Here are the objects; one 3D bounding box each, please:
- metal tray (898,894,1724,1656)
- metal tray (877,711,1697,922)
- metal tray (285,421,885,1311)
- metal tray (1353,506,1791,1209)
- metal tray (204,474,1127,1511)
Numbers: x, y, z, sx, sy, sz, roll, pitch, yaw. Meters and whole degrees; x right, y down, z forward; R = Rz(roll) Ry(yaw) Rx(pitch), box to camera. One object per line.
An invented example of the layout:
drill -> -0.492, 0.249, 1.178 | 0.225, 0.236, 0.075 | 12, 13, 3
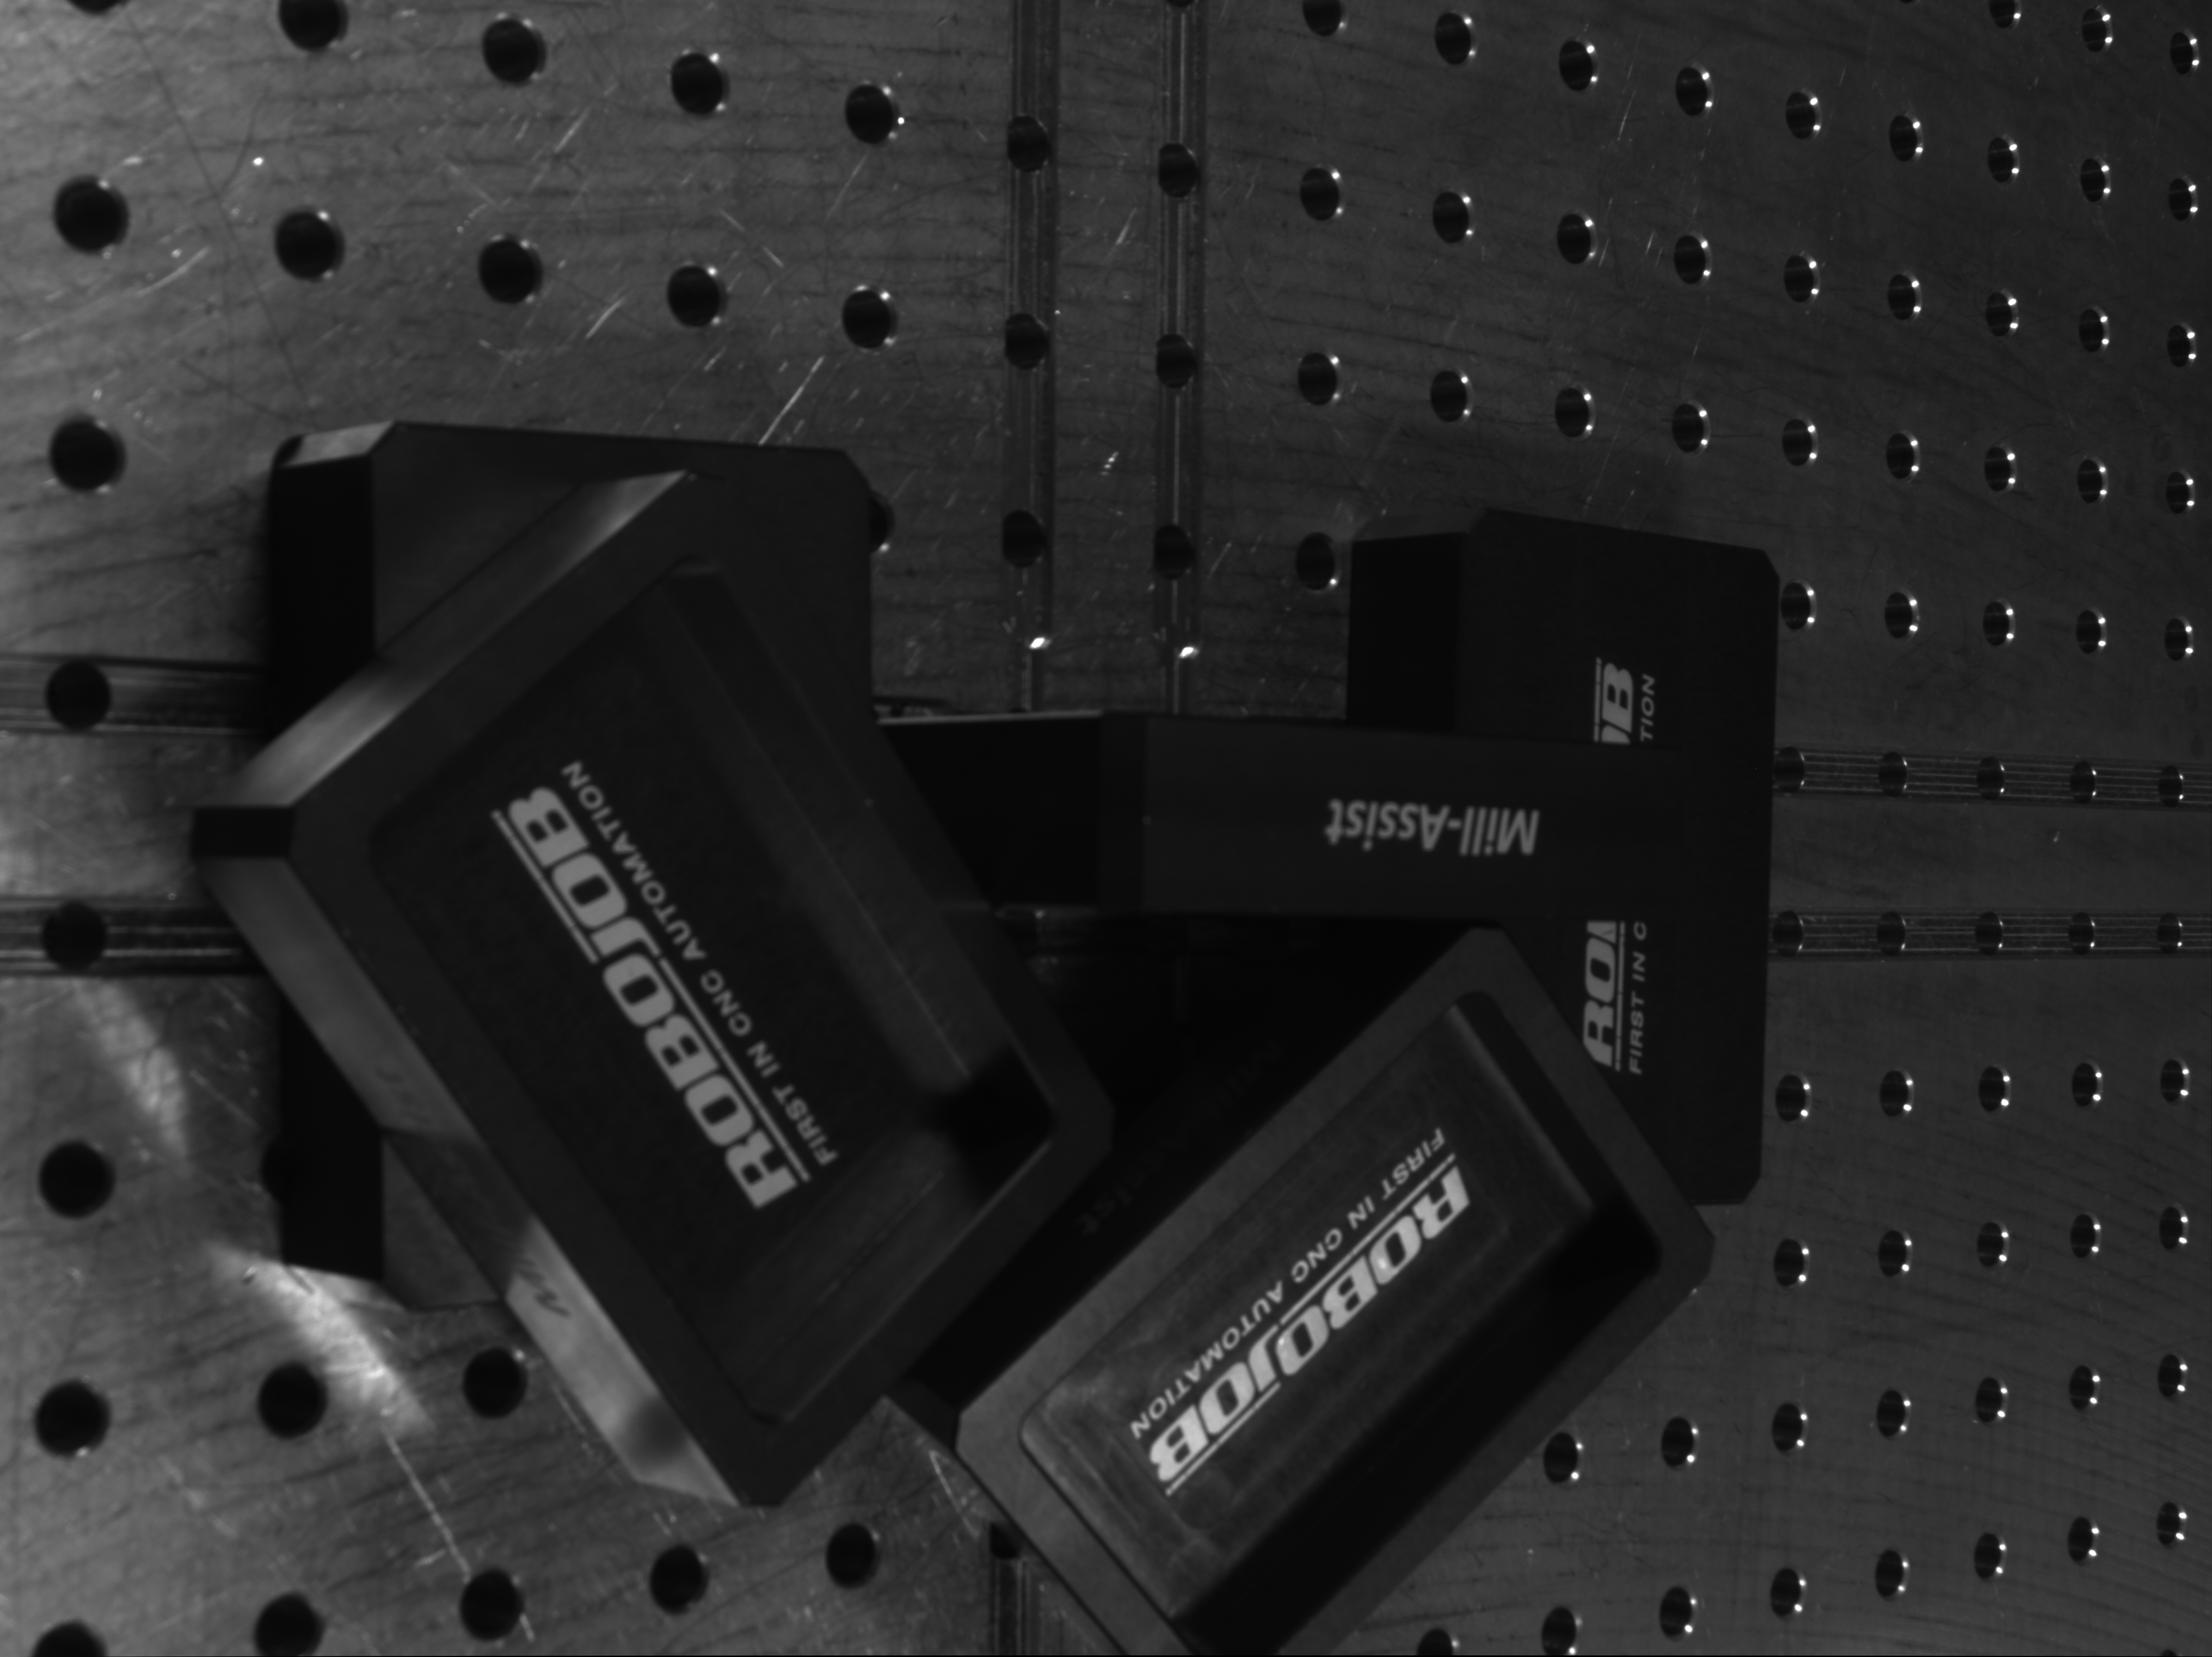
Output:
metal tray -> 0.038, 0.086, 0.644 | 0.130, 0.030, 0.090 | -42, 117, -13
metal tray -> 0.025, -0.001, 0.618 | 0.130, 0.090, 0.030 | 2, 89, -40
metal tray -> -0.080, 0.005, 0.571 | 0.090, 0.030, 0.130 | -1, 91, -39
metal tray -> 0.091, 0.007, 0.711 | 0.090, 0.030, 0.130 | 4, 88, -40
metal tray -> -0.061, 0.025, 0.545 | 0.090, 0.030, 0.130 | -45, 117, -31
